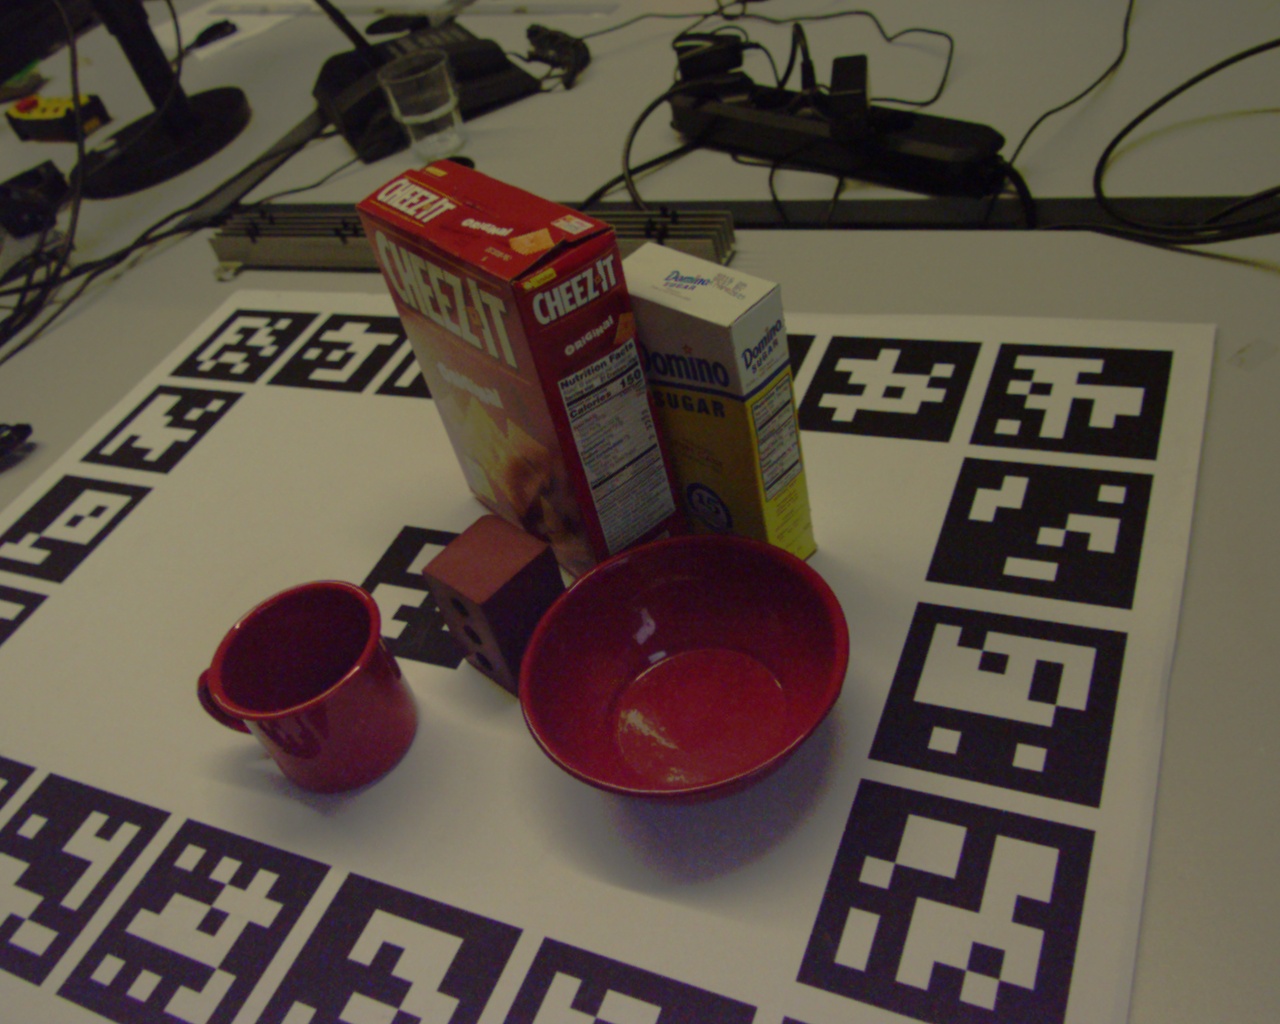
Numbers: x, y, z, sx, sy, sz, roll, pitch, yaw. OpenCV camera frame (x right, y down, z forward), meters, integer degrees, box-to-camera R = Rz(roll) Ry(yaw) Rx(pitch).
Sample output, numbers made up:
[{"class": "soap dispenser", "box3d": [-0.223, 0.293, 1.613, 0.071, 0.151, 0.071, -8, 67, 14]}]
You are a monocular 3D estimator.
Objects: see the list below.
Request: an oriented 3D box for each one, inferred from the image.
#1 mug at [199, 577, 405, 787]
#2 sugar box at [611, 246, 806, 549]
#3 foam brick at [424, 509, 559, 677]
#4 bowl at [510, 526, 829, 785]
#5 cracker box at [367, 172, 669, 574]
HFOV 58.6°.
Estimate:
[{"class": "mug", "box3d": [-0.191, 0.096, 0.634, 0.118, 0.081, 0.093, -1, 35, 21]}, {"class": "sugar box", "box3d": [0.037, -0.058, 0.652, 0.045, 0.175, 0.094, -41, 45, -25]}, {"class": "foam brick", "box3d": [-0.079, 0.049, 0.660, 0.053, 0.077, 0.051, 21, 53, 37]}, {"class": "bowl", "box3d": [0.018, 0.081, 0.583, 0.162, 0.055, 0.162, -11, 42, 9]}, {"class": "cracker box", "box3d": [-0.071, -0.074, 0.683, 0.071, 0.212, 0.166, -33, 44, -20]}]
